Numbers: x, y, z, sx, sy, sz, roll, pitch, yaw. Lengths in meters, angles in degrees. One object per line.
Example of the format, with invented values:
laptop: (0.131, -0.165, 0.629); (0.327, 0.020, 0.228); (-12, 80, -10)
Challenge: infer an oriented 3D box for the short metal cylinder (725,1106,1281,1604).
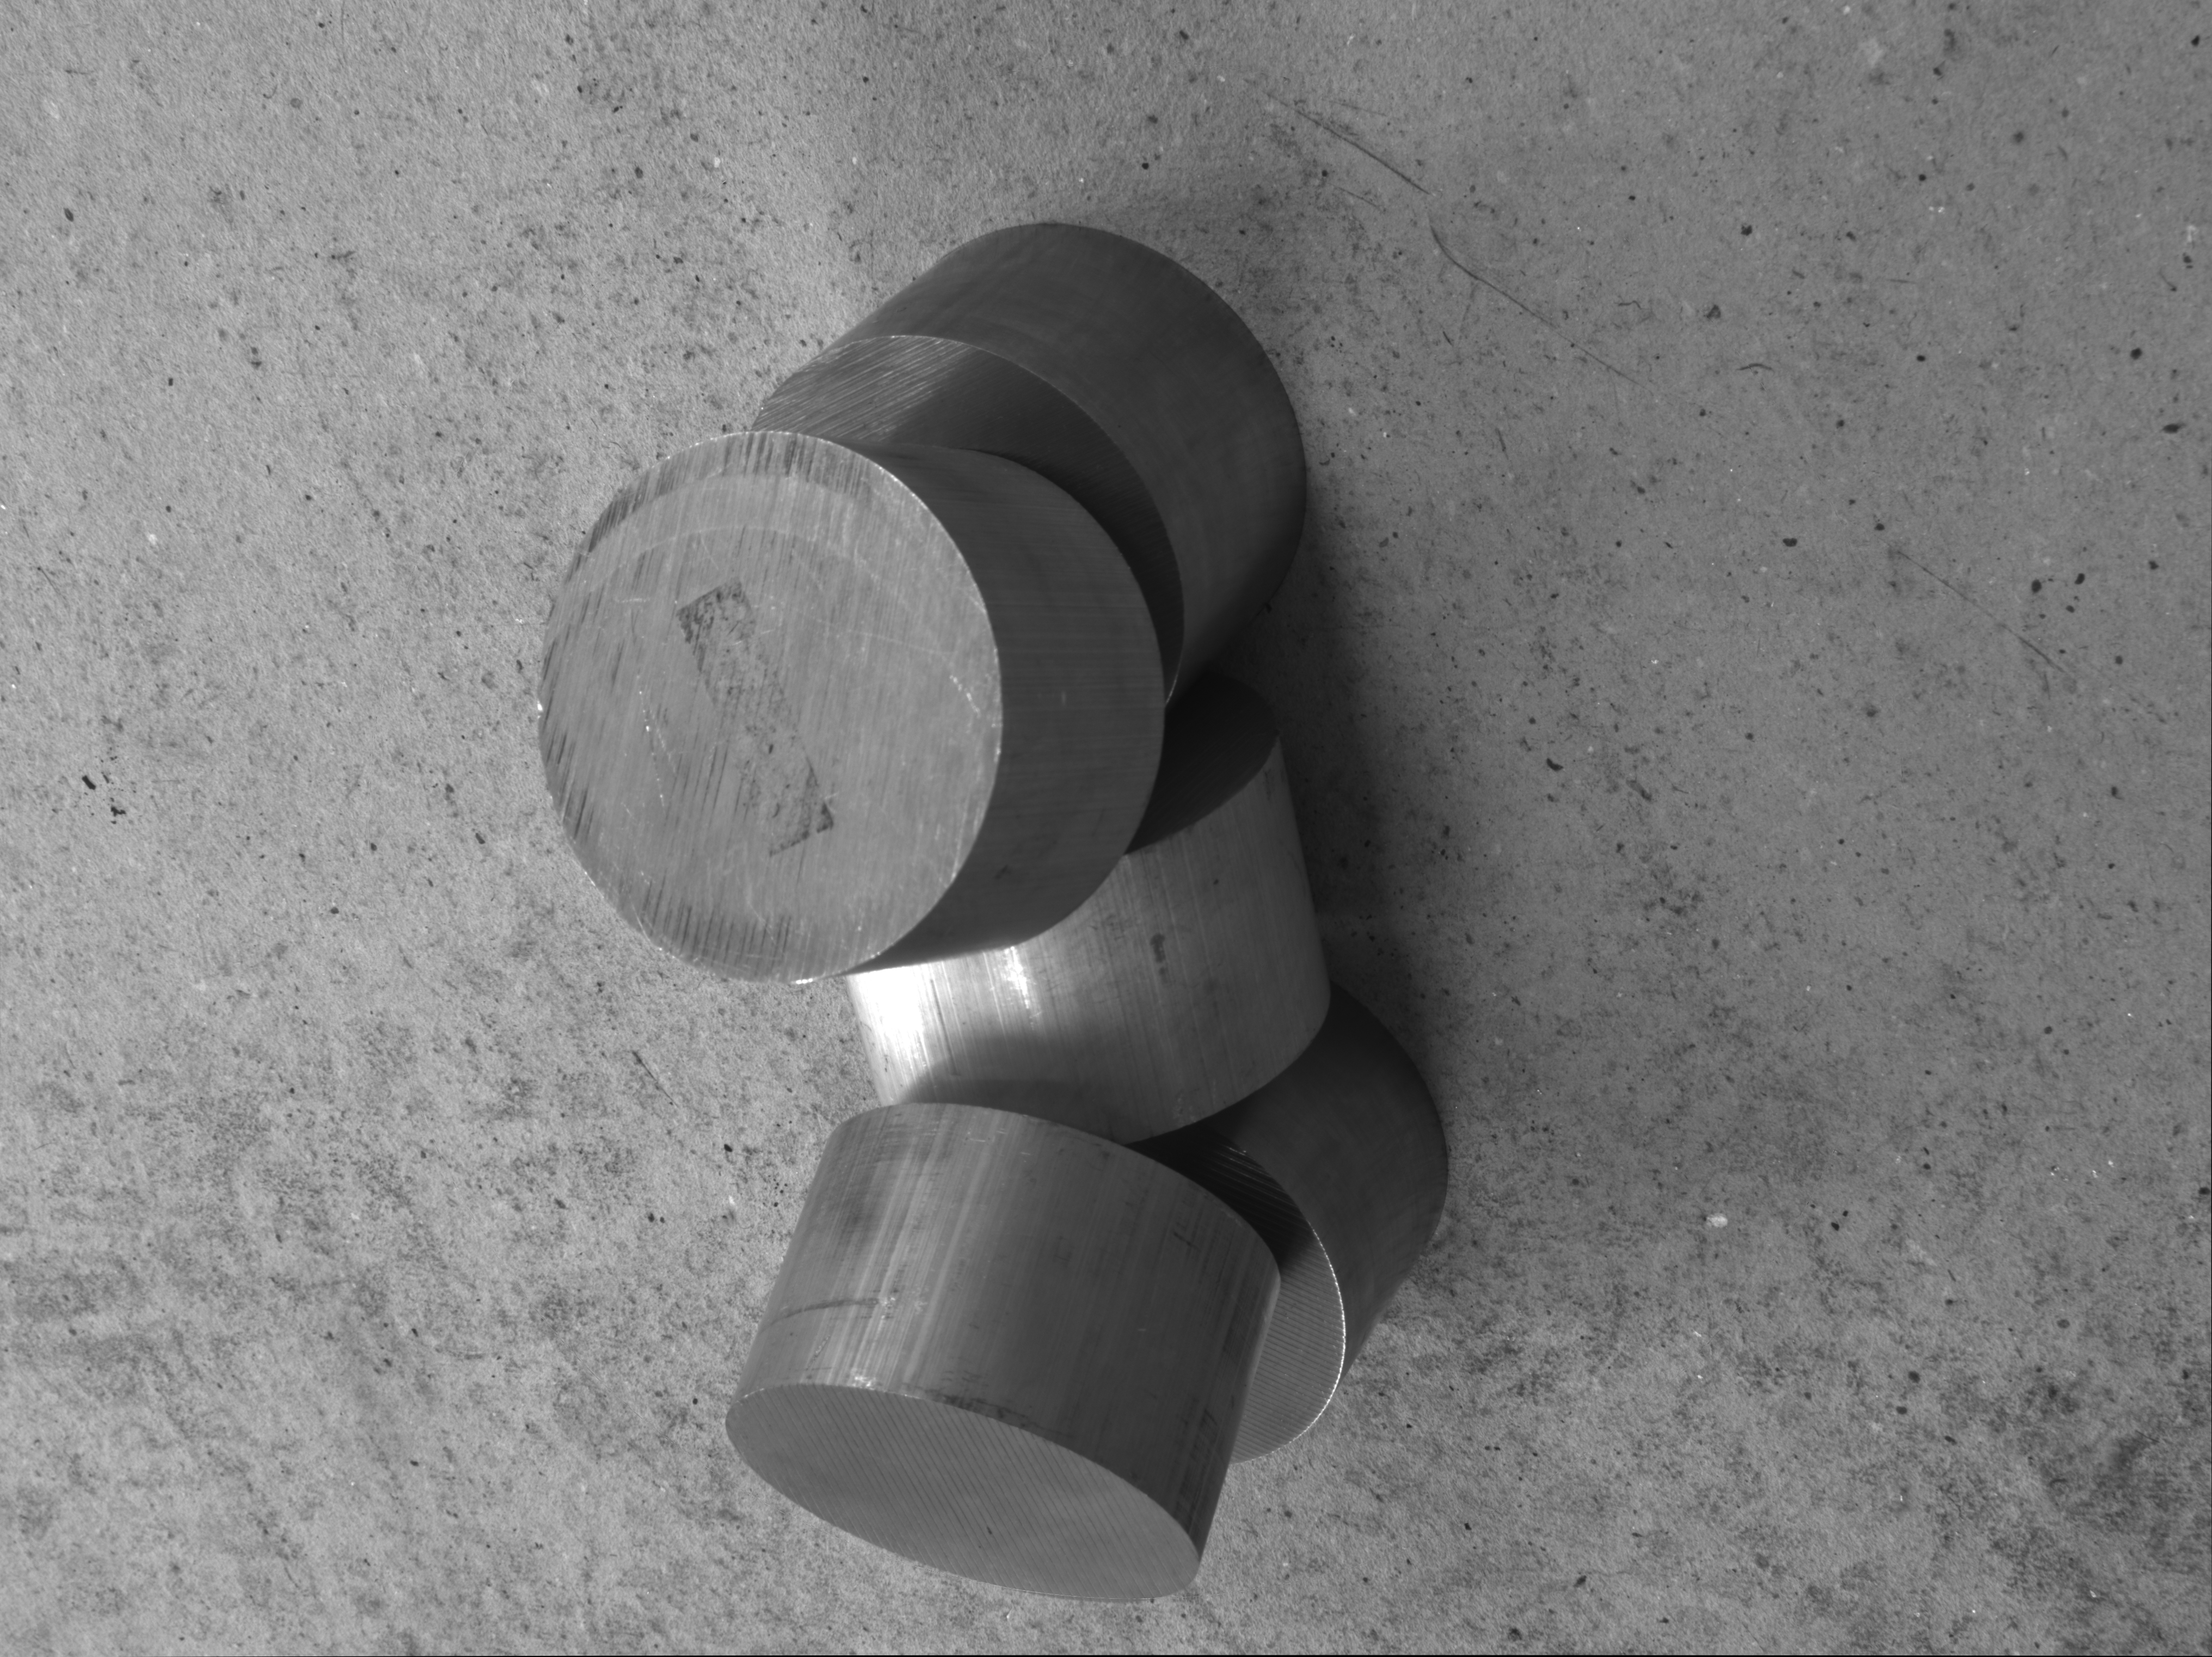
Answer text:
short metal cylinder: (-0.016, 0.087, 0.603); (0.080, 0.050, 0.080); (14, 151, 8)

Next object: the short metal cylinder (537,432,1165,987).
short metal cylinder: (-0.038, -0.018, 0.552); (0.080, 0.050, 0.080); (2, 94, 27)

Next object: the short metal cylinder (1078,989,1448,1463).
short metal cylinder: (0.015, 0.067, 0.660); (0.080, 0.050, 0.080); (13, 124, 21)

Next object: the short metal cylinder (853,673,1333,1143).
short metal cylinder: (-0.006, 0.012, 0.618); (0.080, 0.080, 0.050); (1, 119, 28)

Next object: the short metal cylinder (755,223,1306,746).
short metal cylinder: (-0.014, -0.053, 0.602); (0.080, 0.050, 0.080); (13, 124, 21)
